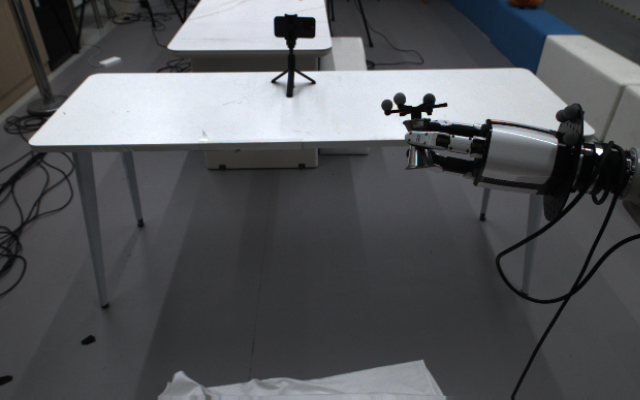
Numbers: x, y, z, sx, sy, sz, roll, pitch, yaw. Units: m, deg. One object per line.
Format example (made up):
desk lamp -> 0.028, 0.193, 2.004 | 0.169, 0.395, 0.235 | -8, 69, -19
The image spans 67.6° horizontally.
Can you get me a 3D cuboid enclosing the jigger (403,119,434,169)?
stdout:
jigger -> 0.140, -0.080, 0.693 | 0.043, 0.071, 0.043 | -4, 1, 0
